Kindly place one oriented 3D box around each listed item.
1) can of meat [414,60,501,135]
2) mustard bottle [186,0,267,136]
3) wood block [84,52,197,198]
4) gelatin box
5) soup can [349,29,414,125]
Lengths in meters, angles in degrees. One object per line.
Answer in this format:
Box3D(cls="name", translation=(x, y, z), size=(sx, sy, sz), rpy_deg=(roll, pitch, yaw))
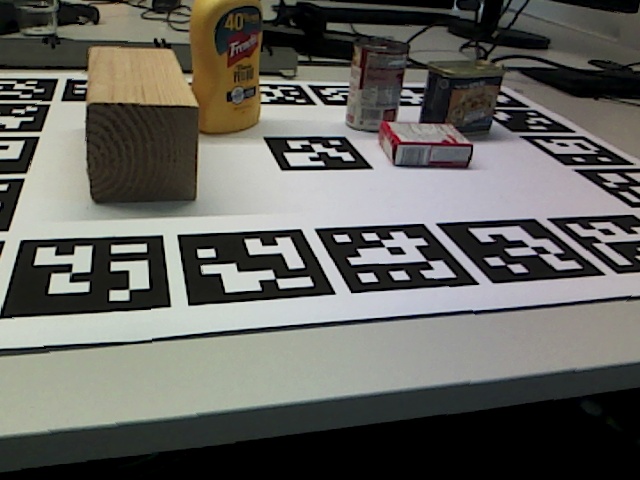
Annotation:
Box3D(cls="can of meat", translation=(0.172, -0.181, 0.792), size=(0.101, 0.083, 0.058), rpy_deg=(-9, 34, -30))
Box3D(cls="mustard bottle", translation=(-0.106, -0.218, 0.700), size=(0.095, 0.191, 0.059), rpy_deg=(-18, 37, -39))
Box3D(cls="wood block", translation=(-0.176, -0.121, 0.608), size=(0.090, 0.090, 0.207), rpy_deg=(-1, 26, -17))
Box3D(cls="gelatin box", translation=(0.122, -0.111, 0.703), size=(0.089, 0.030, 0.073), rpy_deg=(1, 32, -6))
Box3D(cls="soup can", translation=(0.075, -0.204, 0.775), size=(0.068, 0.102, 0.068), rpy_deg=(5, 31, -3))
